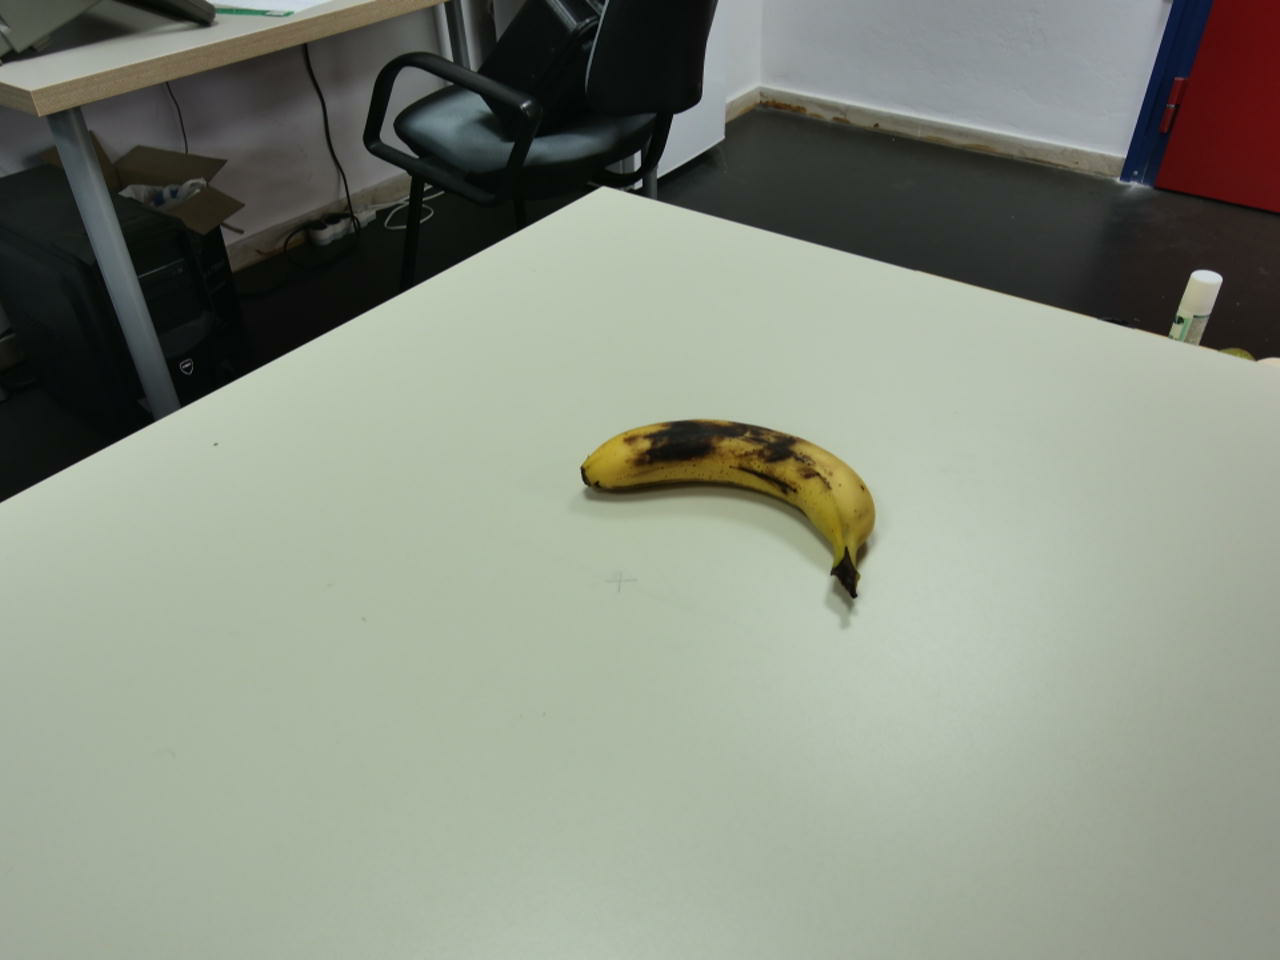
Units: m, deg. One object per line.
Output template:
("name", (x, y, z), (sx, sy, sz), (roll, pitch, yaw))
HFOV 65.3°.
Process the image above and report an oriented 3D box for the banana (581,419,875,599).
("banana", (0.063, 0.001, 0.597), (0.187, 0.039, 0.094), (23, 43, 28))
